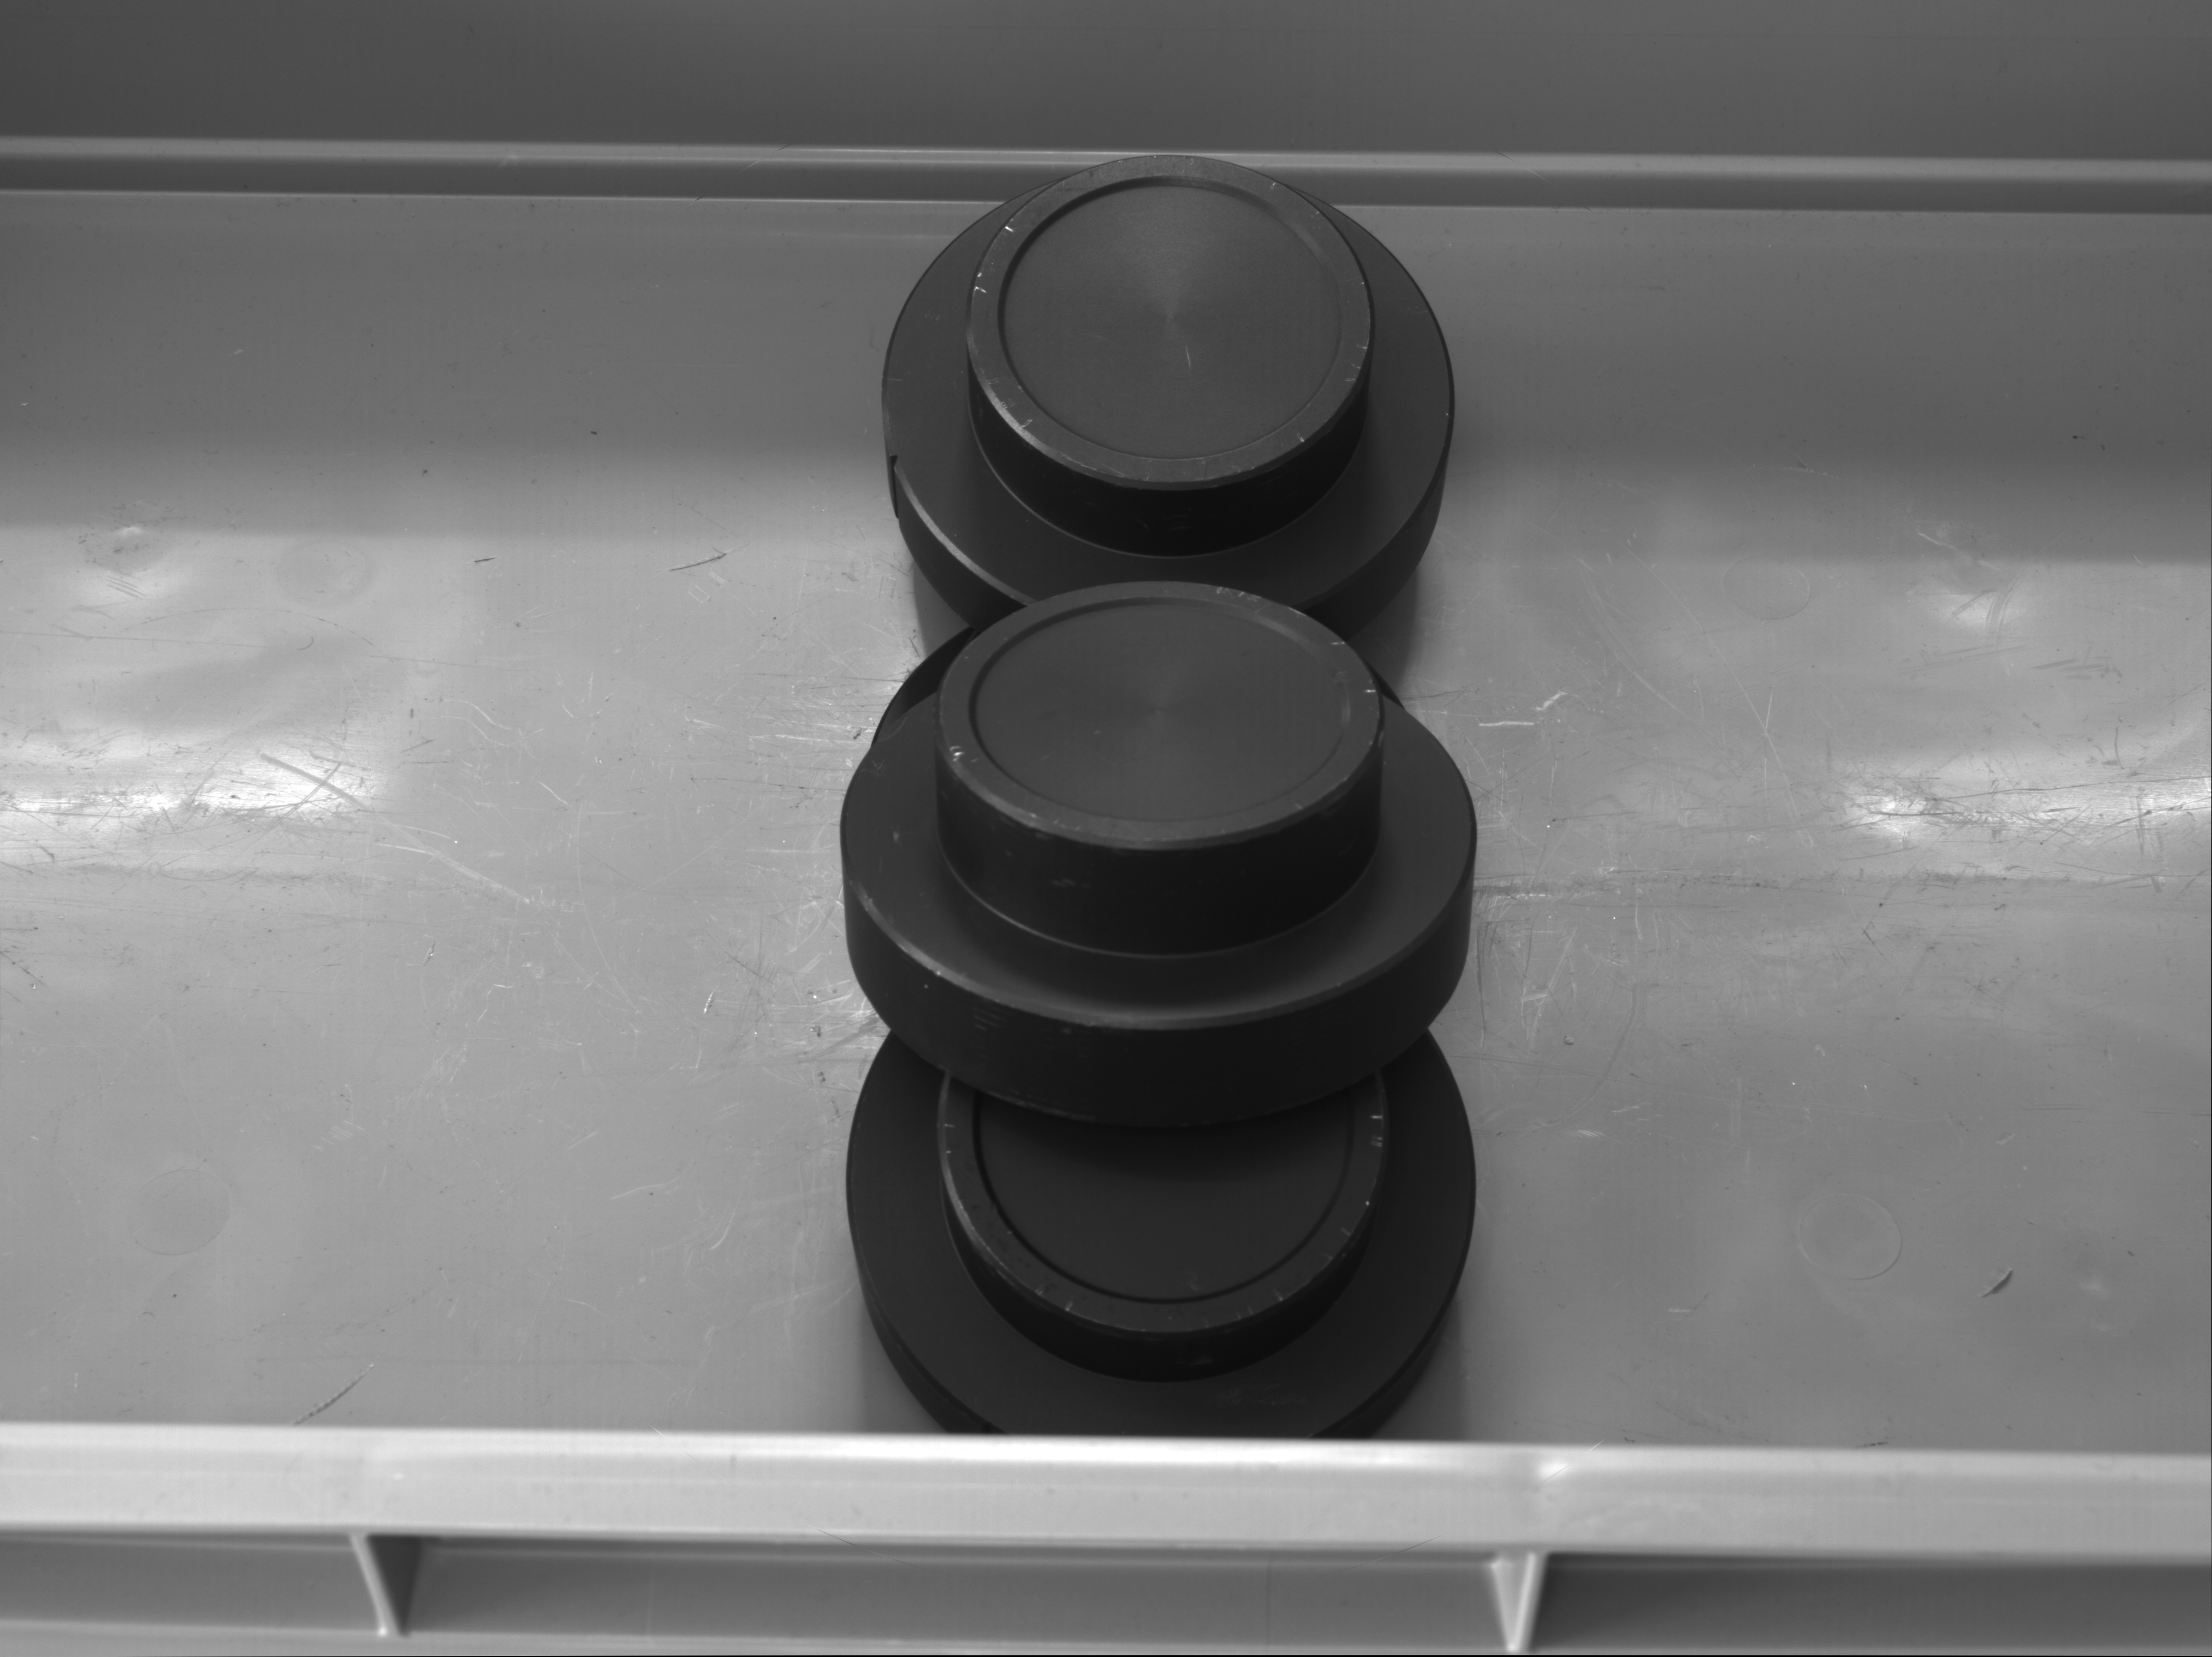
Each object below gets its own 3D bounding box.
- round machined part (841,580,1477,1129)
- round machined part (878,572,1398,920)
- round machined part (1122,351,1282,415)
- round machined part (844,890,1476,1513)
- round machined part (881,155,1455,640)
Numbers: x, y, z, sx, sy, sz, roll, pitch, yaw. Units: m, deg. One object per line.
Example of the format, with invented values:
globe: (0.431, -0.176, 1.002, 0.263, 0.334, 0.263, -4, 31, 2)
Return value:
round machined part: (0.008, -0.002, 0.564, 0.098, 0.042, 0.098, 0, 39, 0)
round machined part: (0.007, -0.009, 0.637, 0.098, 0.042, 0.098, 0, 49, 0)
round machined part: (0.011, -0.082, 0.684, 0.098, 0.042, 0.098, 0, 34, 0)
round machined part: (0.008, 0.053, 0.567, 0.098, 0.042, 0.098, 0, 65, 0)
round machined part: (0.011, -0.075, 0.626, 0.098, 0.042, 0.098, 0, 62, 0)
